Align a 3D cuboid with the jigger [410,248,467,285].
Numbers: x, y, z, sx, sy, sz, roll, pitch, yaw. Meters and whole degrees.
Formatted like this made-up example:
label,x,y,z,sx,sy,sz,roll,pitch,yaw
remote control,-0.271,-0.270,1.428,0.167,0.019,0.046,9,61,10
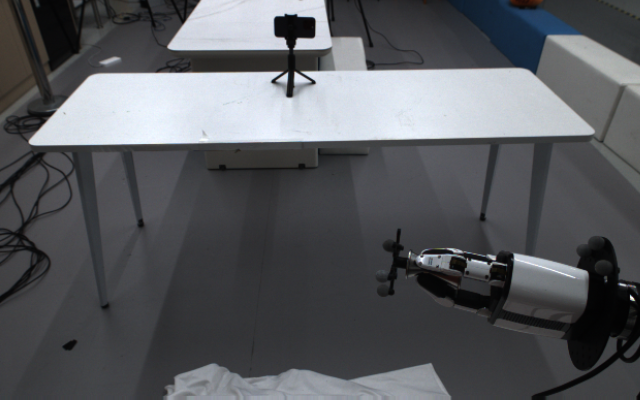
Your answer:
label,x,y,z,sx,sy,sz,roll,pitch,yaw
jigger,0.154,0.084,0.623,0.071,0.043,0.043,8,35,15
